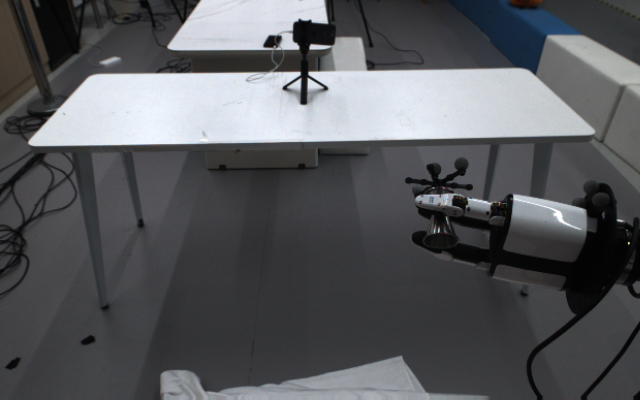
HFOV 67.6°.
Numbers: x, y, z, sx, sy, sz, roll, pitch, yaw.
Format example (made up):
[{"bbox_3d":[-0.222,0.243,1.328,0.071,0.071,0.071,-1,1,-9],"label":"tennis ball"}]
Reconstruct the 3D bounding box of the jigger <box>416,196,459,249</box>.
[{"bbox_3d":[0.152,0.021,0.620,0.043,0.043,0.071,4,61,3],"label":"jigger"}]
